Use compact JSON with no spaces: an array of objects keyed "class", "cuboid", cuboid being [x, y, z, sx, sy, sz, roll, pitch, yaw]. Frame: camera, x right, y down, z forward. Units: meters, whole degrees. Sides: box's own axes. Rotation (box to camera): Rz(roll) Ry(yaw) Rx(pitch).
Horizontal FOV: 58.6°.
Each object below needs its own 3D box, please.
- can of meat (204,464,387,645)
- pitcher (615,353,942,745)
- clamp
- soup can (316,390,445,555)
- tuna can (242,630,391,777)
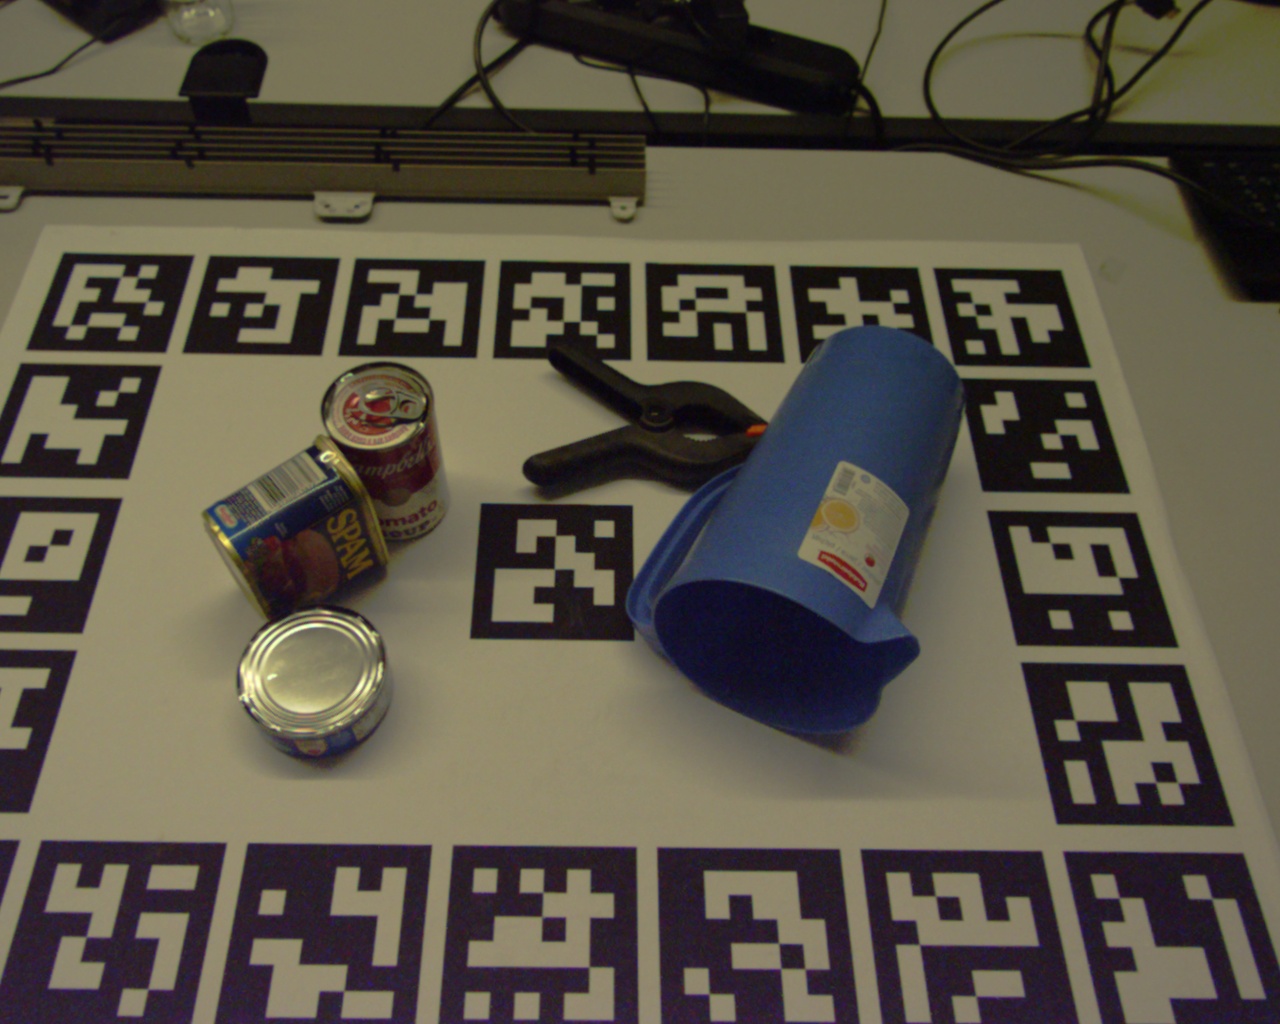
[{"class":"can of meat","cuboid":[-0.216,0.030,0.718,0.083,0.101,0.058,-33,65,-17]},{"class":"pitcher","cuboid":[0.100,0.012,0.719,0.191,0.132,0.241,5,46,28]},{"class":"clamp","cuboid":[-0.016,-0.049,0.830,0.165,0.036,0.122,4,52,-3]},{"class":"soup can","cuboid":[-0.171,-0.024,0.761,0.068,0.101,0.068,-1,59,0]},{"class":"tuna can","cuboid":[-0.198,0.118,0.704,0.086,0.033,0.086,0,58,-1]}]
